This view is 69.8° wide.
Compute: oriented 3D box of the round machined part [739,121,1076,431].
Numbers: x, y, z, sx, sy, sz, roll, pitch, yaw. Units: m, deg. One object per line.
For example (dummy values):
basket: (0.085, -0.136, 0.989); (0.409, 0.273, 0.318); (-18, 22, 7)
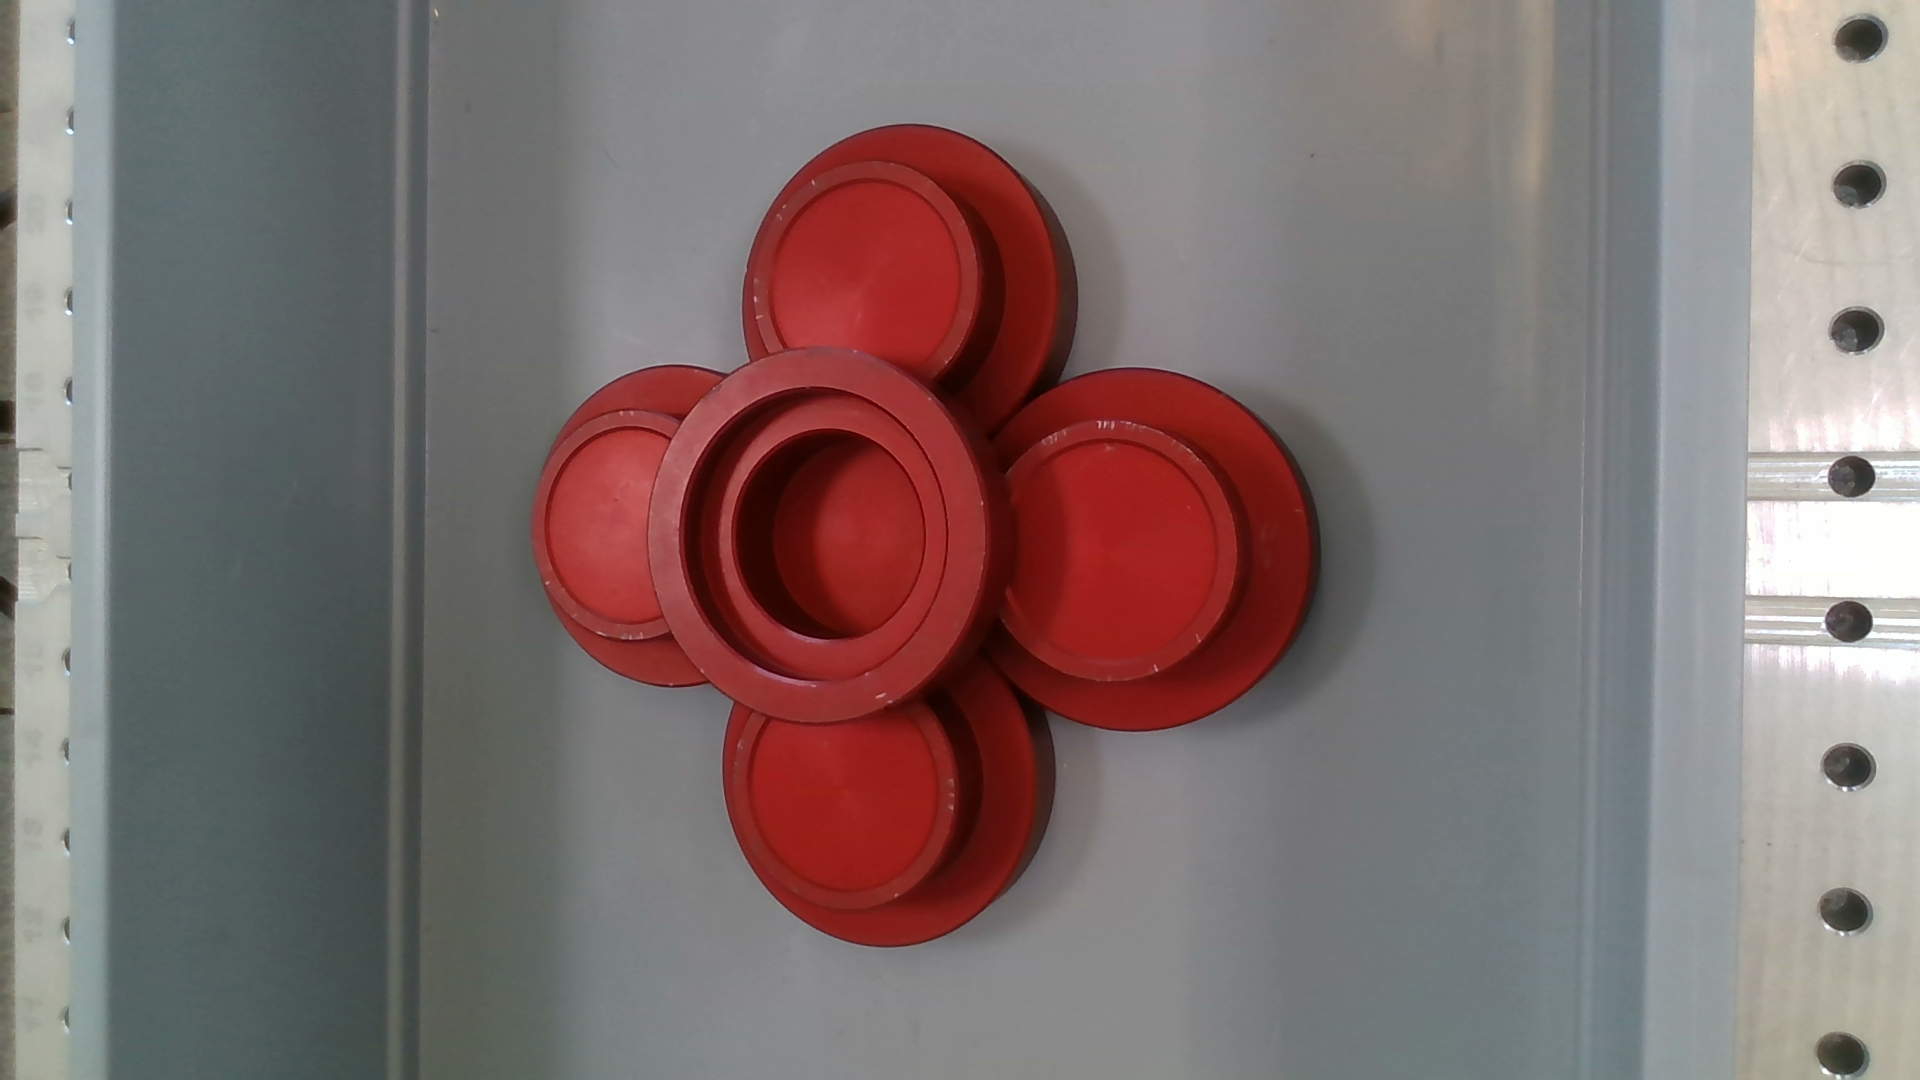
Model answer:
round machined part: (-0.020, -0.069, 0.390); (0.098, 0.042, 0.098); (0, 90, 20)

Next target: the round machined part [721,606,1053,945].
round machined part: (-0.026, 0.067, 0.393); (0.098, 0.042, 0.098); (0, 90, 20)

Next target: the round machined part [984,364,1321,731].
round machined part: (0.044, 0.002, 0.366); (0.098, 0.042, 0.098); (0, 90, 20)

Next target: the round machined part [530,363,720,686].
round machined part: (-0.089, -0.004, 0.416); (0.098, 0.042, 0.098); (0, 92, 18)

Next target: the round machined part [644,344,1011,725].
round machined part: (-0.032, -0.001, 0.373); (0.098, 0.042, 0.098); (0, 90, 20)
